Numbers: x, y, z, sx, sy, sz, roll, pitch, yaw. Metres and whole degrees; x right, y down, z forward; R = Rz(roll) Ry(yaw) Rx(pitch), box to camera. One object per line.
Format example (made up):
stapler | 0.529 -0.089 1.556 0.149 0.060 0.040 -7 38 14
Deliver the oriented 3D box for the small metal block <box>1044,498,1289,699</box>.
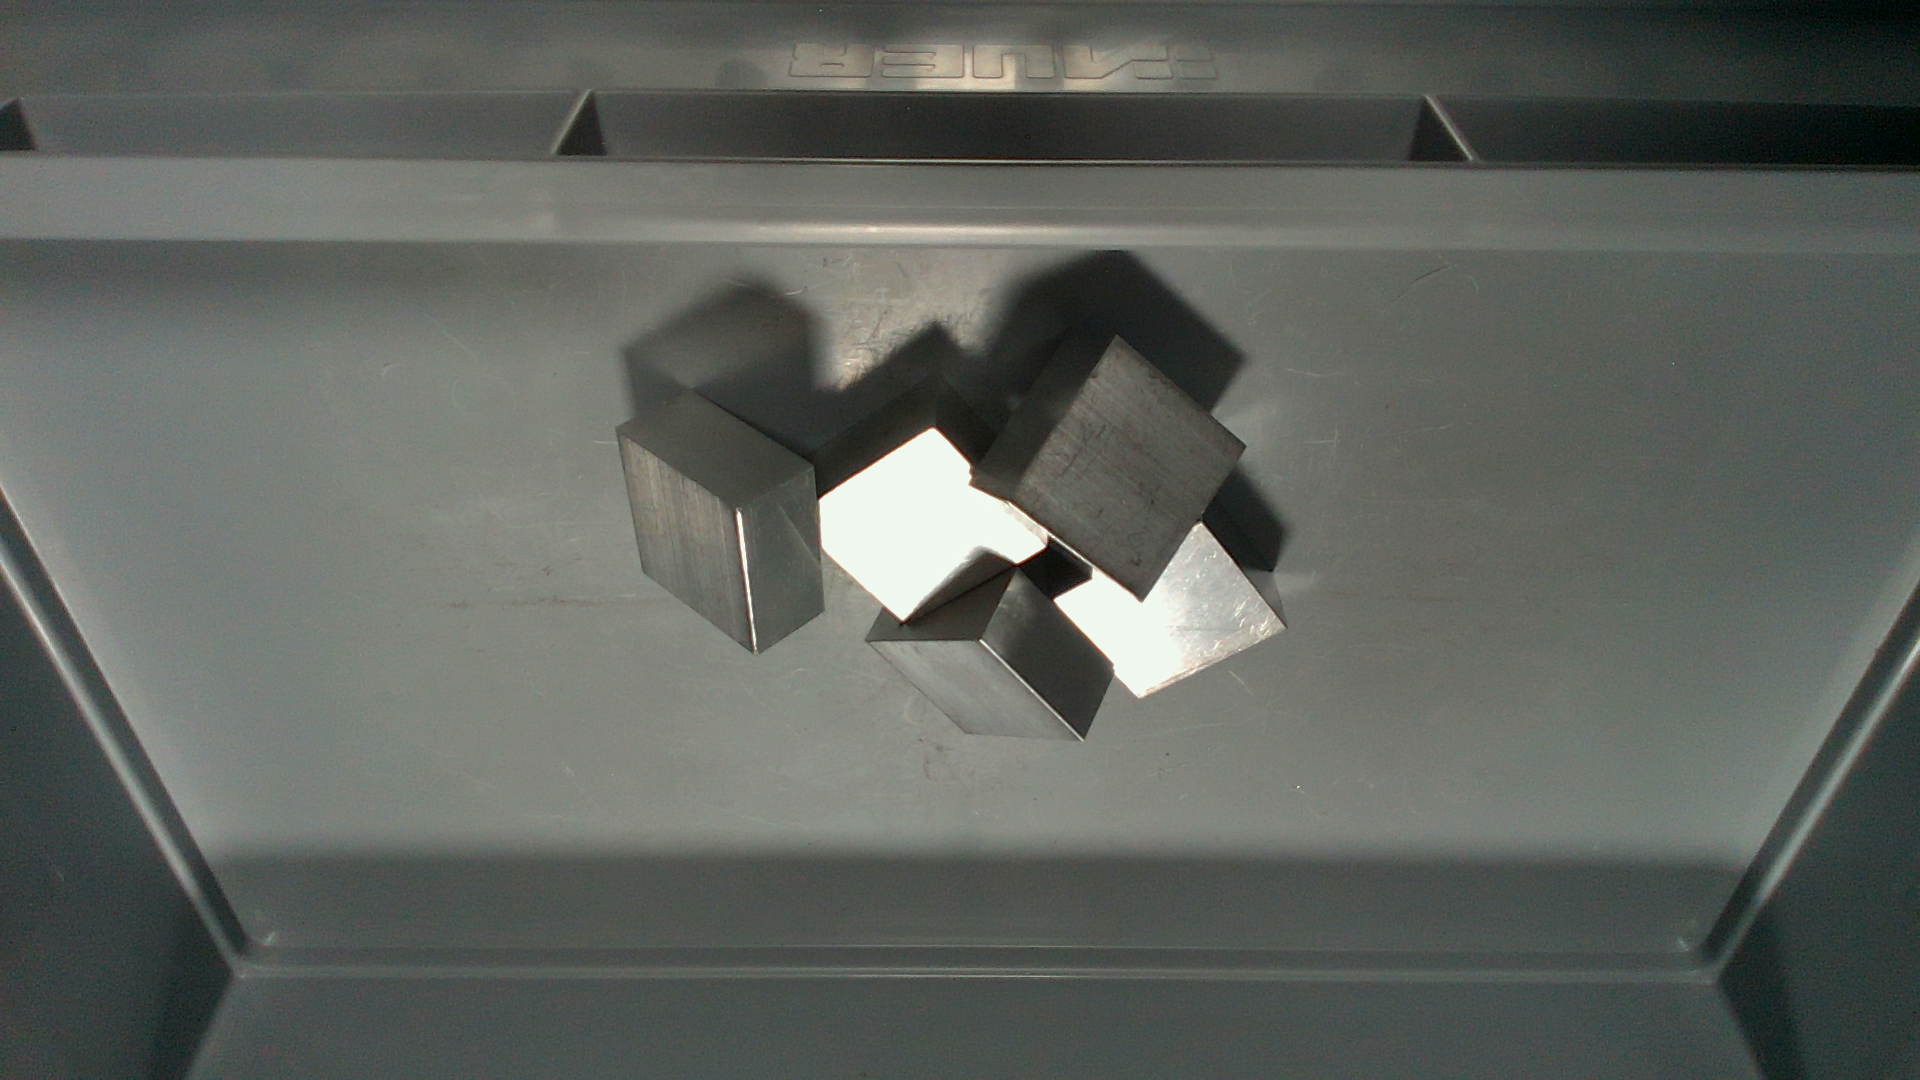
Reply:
small metal block | 0.060 0.013 0.400 0.050 0.025 0.050 -29 124 22

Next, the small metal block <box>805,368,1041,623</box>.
small metal block | -0.011 -0.011 0.379 0.050 0.025 0.050 -31 124 23

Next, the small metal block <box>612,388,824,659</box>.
small metal block | -0.064 -0.005 0.367 0.050 0.025 0.050 32 139 32

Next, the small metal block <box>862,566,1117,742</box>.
small metal block | 0.009 0.034 0.402 0.050 0.025 0.050 -5 139 47

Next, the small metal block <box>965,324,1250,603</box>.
small metal block | 0.039 -0.020 0.357 0.050 0.025 0.050 35 87 -26
